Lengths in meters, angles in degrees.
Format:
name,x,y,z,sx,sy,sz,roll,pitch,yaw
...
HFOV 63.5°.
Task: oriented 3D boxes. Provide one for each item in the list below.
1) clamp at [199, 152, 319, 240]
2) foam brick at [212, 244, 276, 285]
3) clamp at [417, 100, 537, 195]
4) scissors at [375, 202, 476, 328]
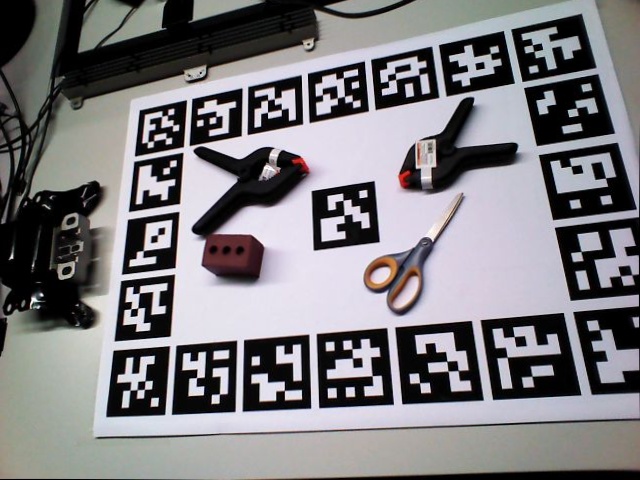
name,x,y,z,sx,sy,sz,roll,pitch,yaw
clamp,-0.102,-0.090,0.842,0.204,0.036,0.164,-11,66,12
foam brick,-0.116,0.037,0.796,0.078,0.051,0.052,-1,72,21
clamp,0.215,-0.120,0.763,0.165,0.036,0.121,-33,72,4
scissors,0.159,0.025,0.731,0.088,0.016,0.202,35,82,16
